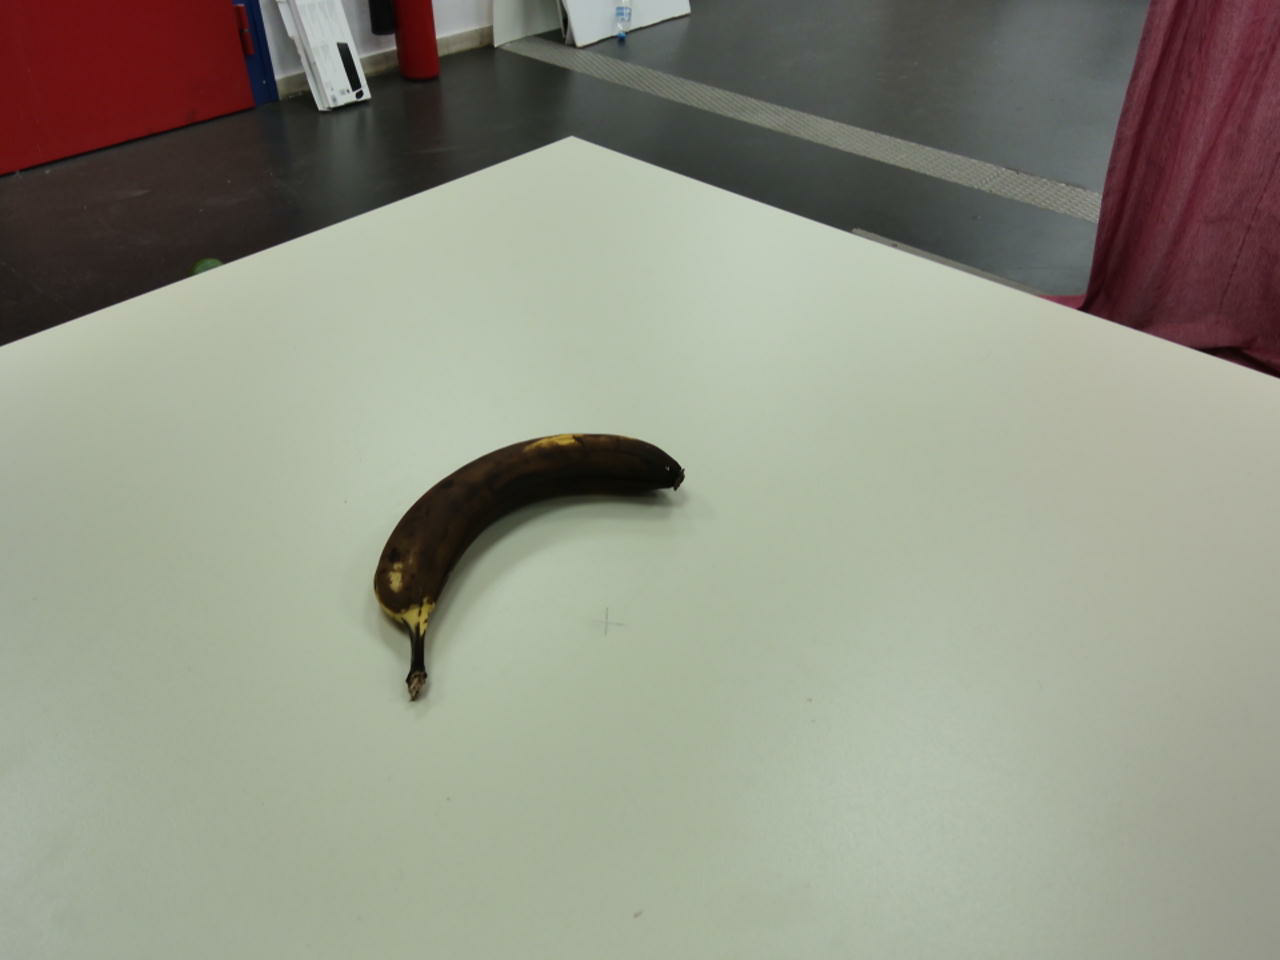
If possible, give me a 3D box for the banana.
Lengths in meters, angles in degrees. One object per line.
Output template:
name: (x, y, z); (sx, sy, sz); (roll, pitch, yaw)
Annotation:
banana: (-0.066, 0.020, 0.491); (0.091, 0.034, 0.188); (28, 45, 31)
